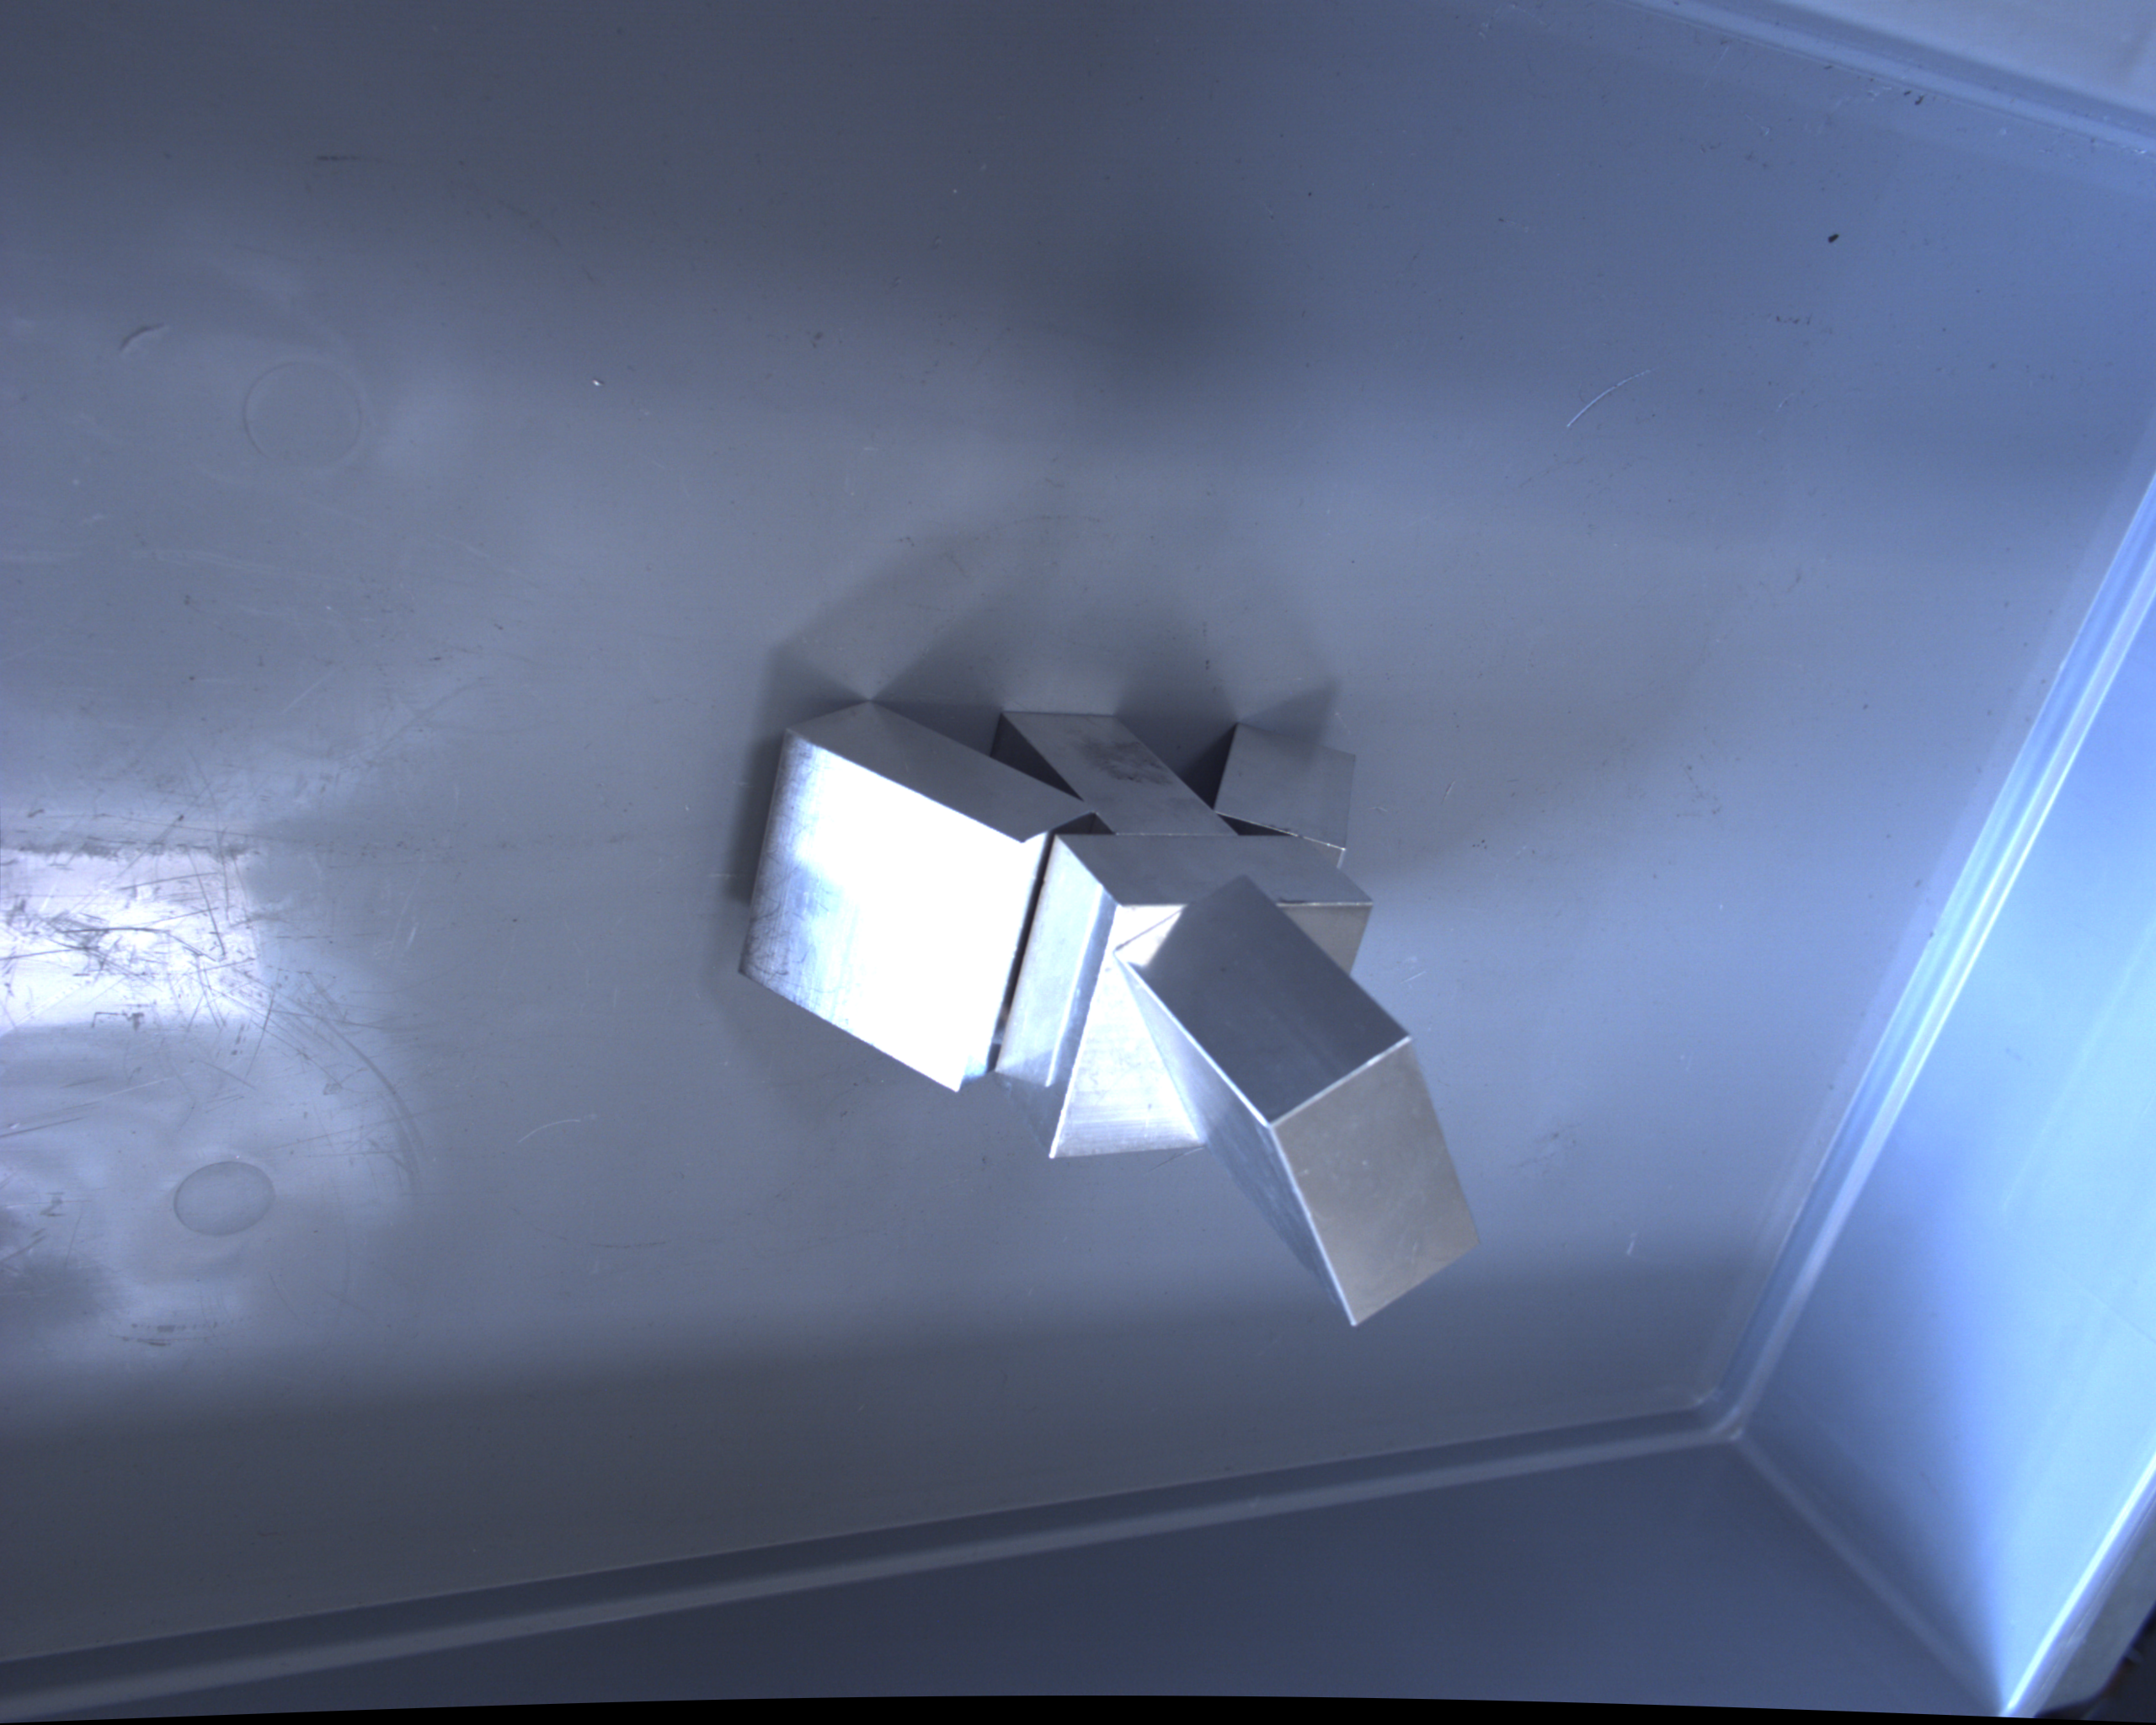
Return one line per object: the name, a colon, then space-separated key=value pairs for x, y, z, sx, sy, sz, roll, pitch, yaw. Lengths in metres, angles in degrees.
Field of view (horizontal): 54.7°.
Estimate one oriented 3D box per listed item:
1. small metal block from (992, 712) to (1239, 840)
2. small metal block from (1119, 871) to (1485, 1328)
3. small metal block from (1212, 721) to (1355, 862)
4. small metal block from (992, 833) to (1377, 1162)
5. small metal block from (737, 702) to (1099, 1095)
small metal block: x=0.001 y=0.005 z=0.393 sx=0.025 sy=0.050 sz=0.050 roll=1 pitch=118 yaw=-29
small metal block: x=0.036 y=0.037 z=0.335 sx=0.025 sy=0.050 sz=0.050 roll=-31 pitch=128 yaw=-8
small metal block: x=0.034 y=0.006 z=0.410 sx=0.025 sy=0.050 sz=0.050 roll=16 pitch=115 yaw=2
small metal block: x=0.018 y=0.023 z=0.364 sx=0.050 sy=0.025 sz=0.050 roll=1 pitch=118 yaw=-29
small metal block: x=-0.030 y=0.006 z=0.374 sx=0.025 sy=0.050 sz=0.050 roll=-27 pitch=138 yaw=-56
